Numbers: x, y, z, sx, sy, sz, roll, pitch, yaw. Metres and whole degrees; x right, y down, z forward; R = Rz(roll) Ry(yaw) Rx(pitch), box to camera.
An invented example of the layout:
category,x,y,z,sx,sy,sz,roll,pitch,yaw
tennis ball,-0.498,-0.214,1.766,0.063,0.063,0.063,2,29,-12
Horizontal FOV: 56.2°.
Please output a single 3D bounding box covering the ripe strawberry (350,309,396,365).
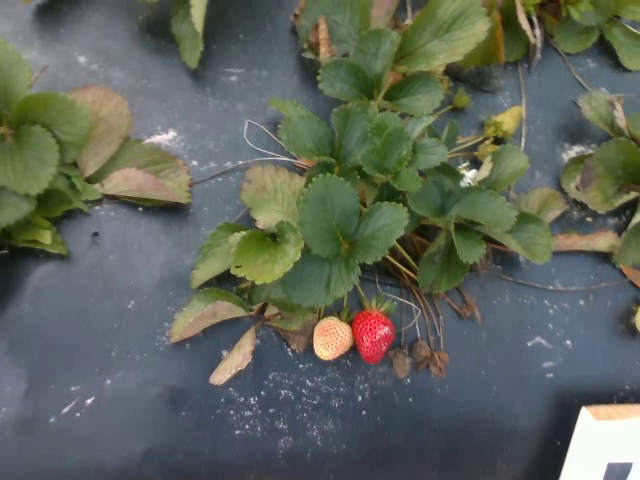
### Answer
category,x,y,z,sx,sy,sz,roll,pitch,yaw
ripe strawberry,0.036,0.068,0.396,0.034,0.042,0.033,32,-45,-16
